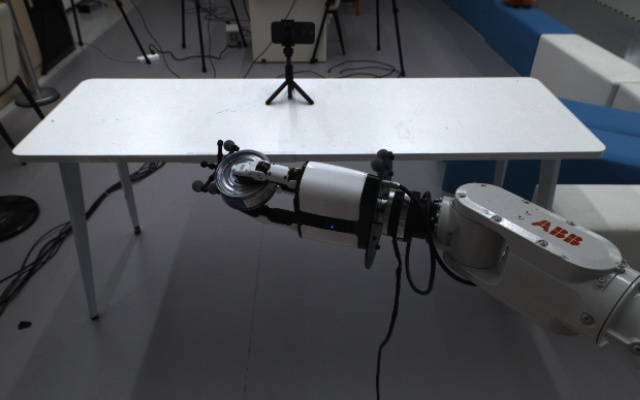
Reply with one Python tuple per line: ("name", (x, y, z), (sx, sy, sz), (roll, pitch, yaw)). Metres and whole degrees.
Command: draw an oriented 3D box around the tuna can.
("tuna can", (-0.105, -0.031, 0.694), (0.085, 0.034, 0.085), (-3, 59, 5))
